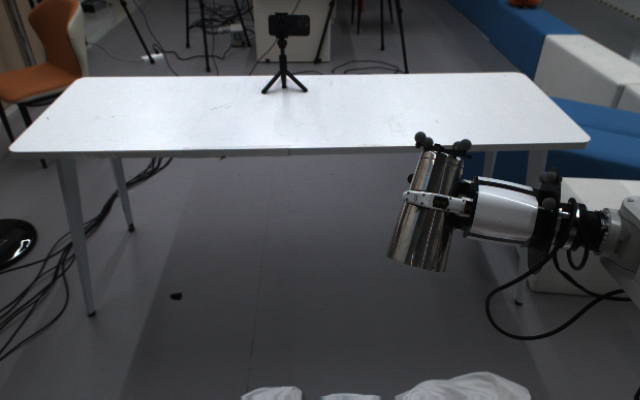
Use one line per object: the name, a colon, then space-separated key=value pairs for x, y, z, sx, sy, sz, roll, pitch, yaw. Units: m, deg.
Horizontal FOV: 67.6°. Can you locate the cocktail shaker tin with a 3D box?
cocktail shaker tin: x=0.166 y=0.013 z=0.740 sx=0.093 sy=0.170 sz=0.093 roll=14 pitch=2 yaw=-1
